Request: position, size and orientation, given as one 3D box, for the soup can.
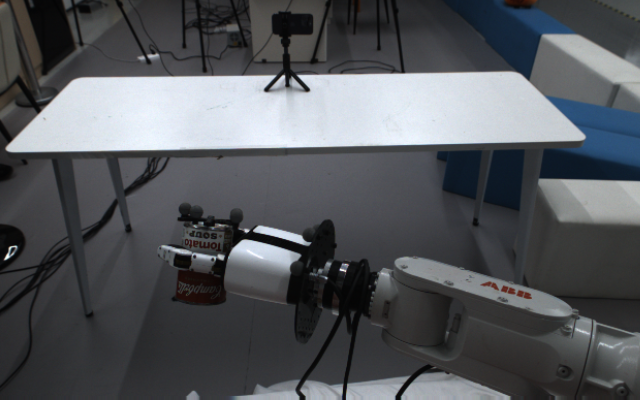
[{"bbox_3d":[-0.152,0.083,0.643,0.067,0.101,0.067,7,3,0],"label":"soup can"}]
